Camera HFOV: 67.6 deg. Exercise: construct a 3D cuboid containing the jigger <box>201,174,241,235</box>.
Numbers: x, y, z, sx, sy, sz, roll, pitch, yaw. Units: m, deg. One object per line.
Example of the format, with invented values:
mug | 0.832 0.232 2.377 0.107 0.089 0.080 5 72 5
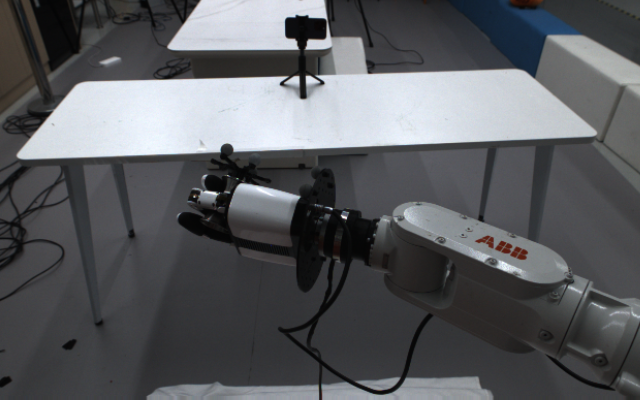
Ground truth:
jigger | -0.125 0.004 0.646 0.043 0.043 0.071 15 71 18
